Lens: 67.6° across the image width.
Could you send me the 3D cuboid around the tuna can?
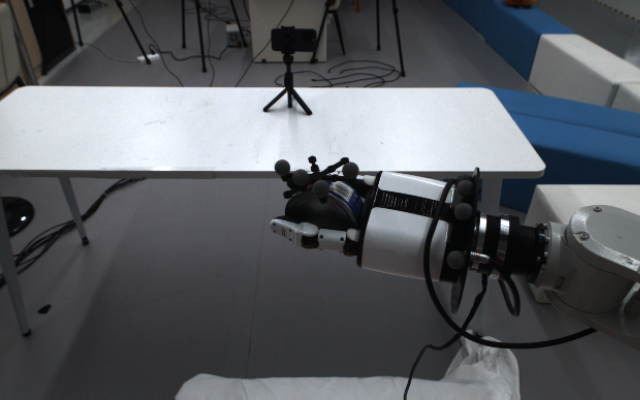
[{"bbox_3d":[0.008,0.013,0.548,0.085,0.085,0.034,14,41,16],"label":"tuna can"}]
